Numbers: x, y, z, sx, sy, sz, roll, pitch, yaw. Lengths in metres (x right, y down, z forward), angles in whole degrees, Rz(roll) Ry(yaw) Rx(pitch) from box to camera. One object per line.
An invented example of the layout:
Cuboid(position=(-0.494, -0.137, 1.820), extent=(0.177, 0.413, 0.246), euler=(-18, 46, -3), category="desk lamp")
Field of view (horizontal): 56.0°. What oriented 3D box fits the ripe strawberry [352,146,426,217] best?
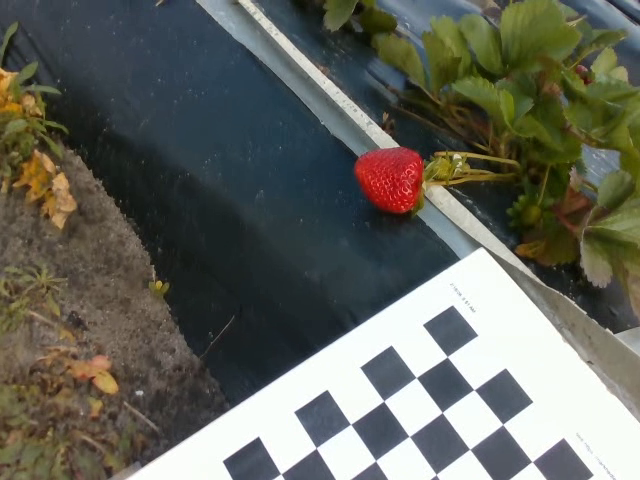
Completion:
Cuboid(position=(0.042, -0.039, 0.364), extent=(0.052, 0.048, 0.030), euler=(15, -28, -19), category="ripe strawberry")
